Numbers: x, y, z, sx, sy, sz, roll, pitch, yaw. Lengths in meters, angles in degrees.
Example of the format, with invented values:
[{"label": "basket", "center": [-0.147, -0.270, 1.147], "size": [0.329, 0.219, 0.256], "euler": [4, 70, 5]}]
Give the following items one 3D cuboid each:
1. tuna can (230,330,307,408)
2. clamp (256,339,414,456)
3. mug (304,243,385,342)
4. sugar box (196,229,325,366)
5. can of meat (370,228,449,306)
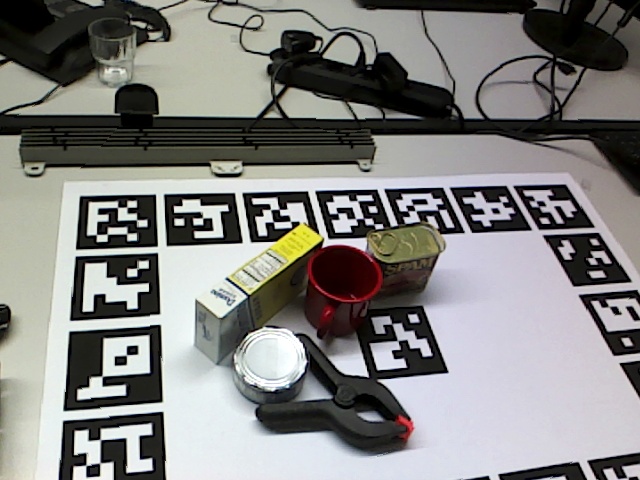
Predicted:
[{"label": "tuna can", "center": [-0.060, 0.148, 0.705], "size": [0.085, 0.033, 0.086], "euler": [6, 49, -7]}, {"label": "clamp", "center": [0.025, 0.189, 0.692], "size": [0.165, 0.036, 0.122], "euler": [26, 44, 6]}, {"label": "mug", "center": [0.022, 0.073, 0.756], "size": [0.093, 0.081, 0.117], "euler": [17, 48, 2]}, {"label": "sugar box", "center": [-0.070, 0.067, 0.746], "size": [0.045, 0.093, 0.176], "euler": [36, 49, 21]}, {"label": "can of meat", "center": [0.108, 0.036, 0.819], "size": [0.101, 0.083, 0.058], "euler": [-8, 49, -21]}]
